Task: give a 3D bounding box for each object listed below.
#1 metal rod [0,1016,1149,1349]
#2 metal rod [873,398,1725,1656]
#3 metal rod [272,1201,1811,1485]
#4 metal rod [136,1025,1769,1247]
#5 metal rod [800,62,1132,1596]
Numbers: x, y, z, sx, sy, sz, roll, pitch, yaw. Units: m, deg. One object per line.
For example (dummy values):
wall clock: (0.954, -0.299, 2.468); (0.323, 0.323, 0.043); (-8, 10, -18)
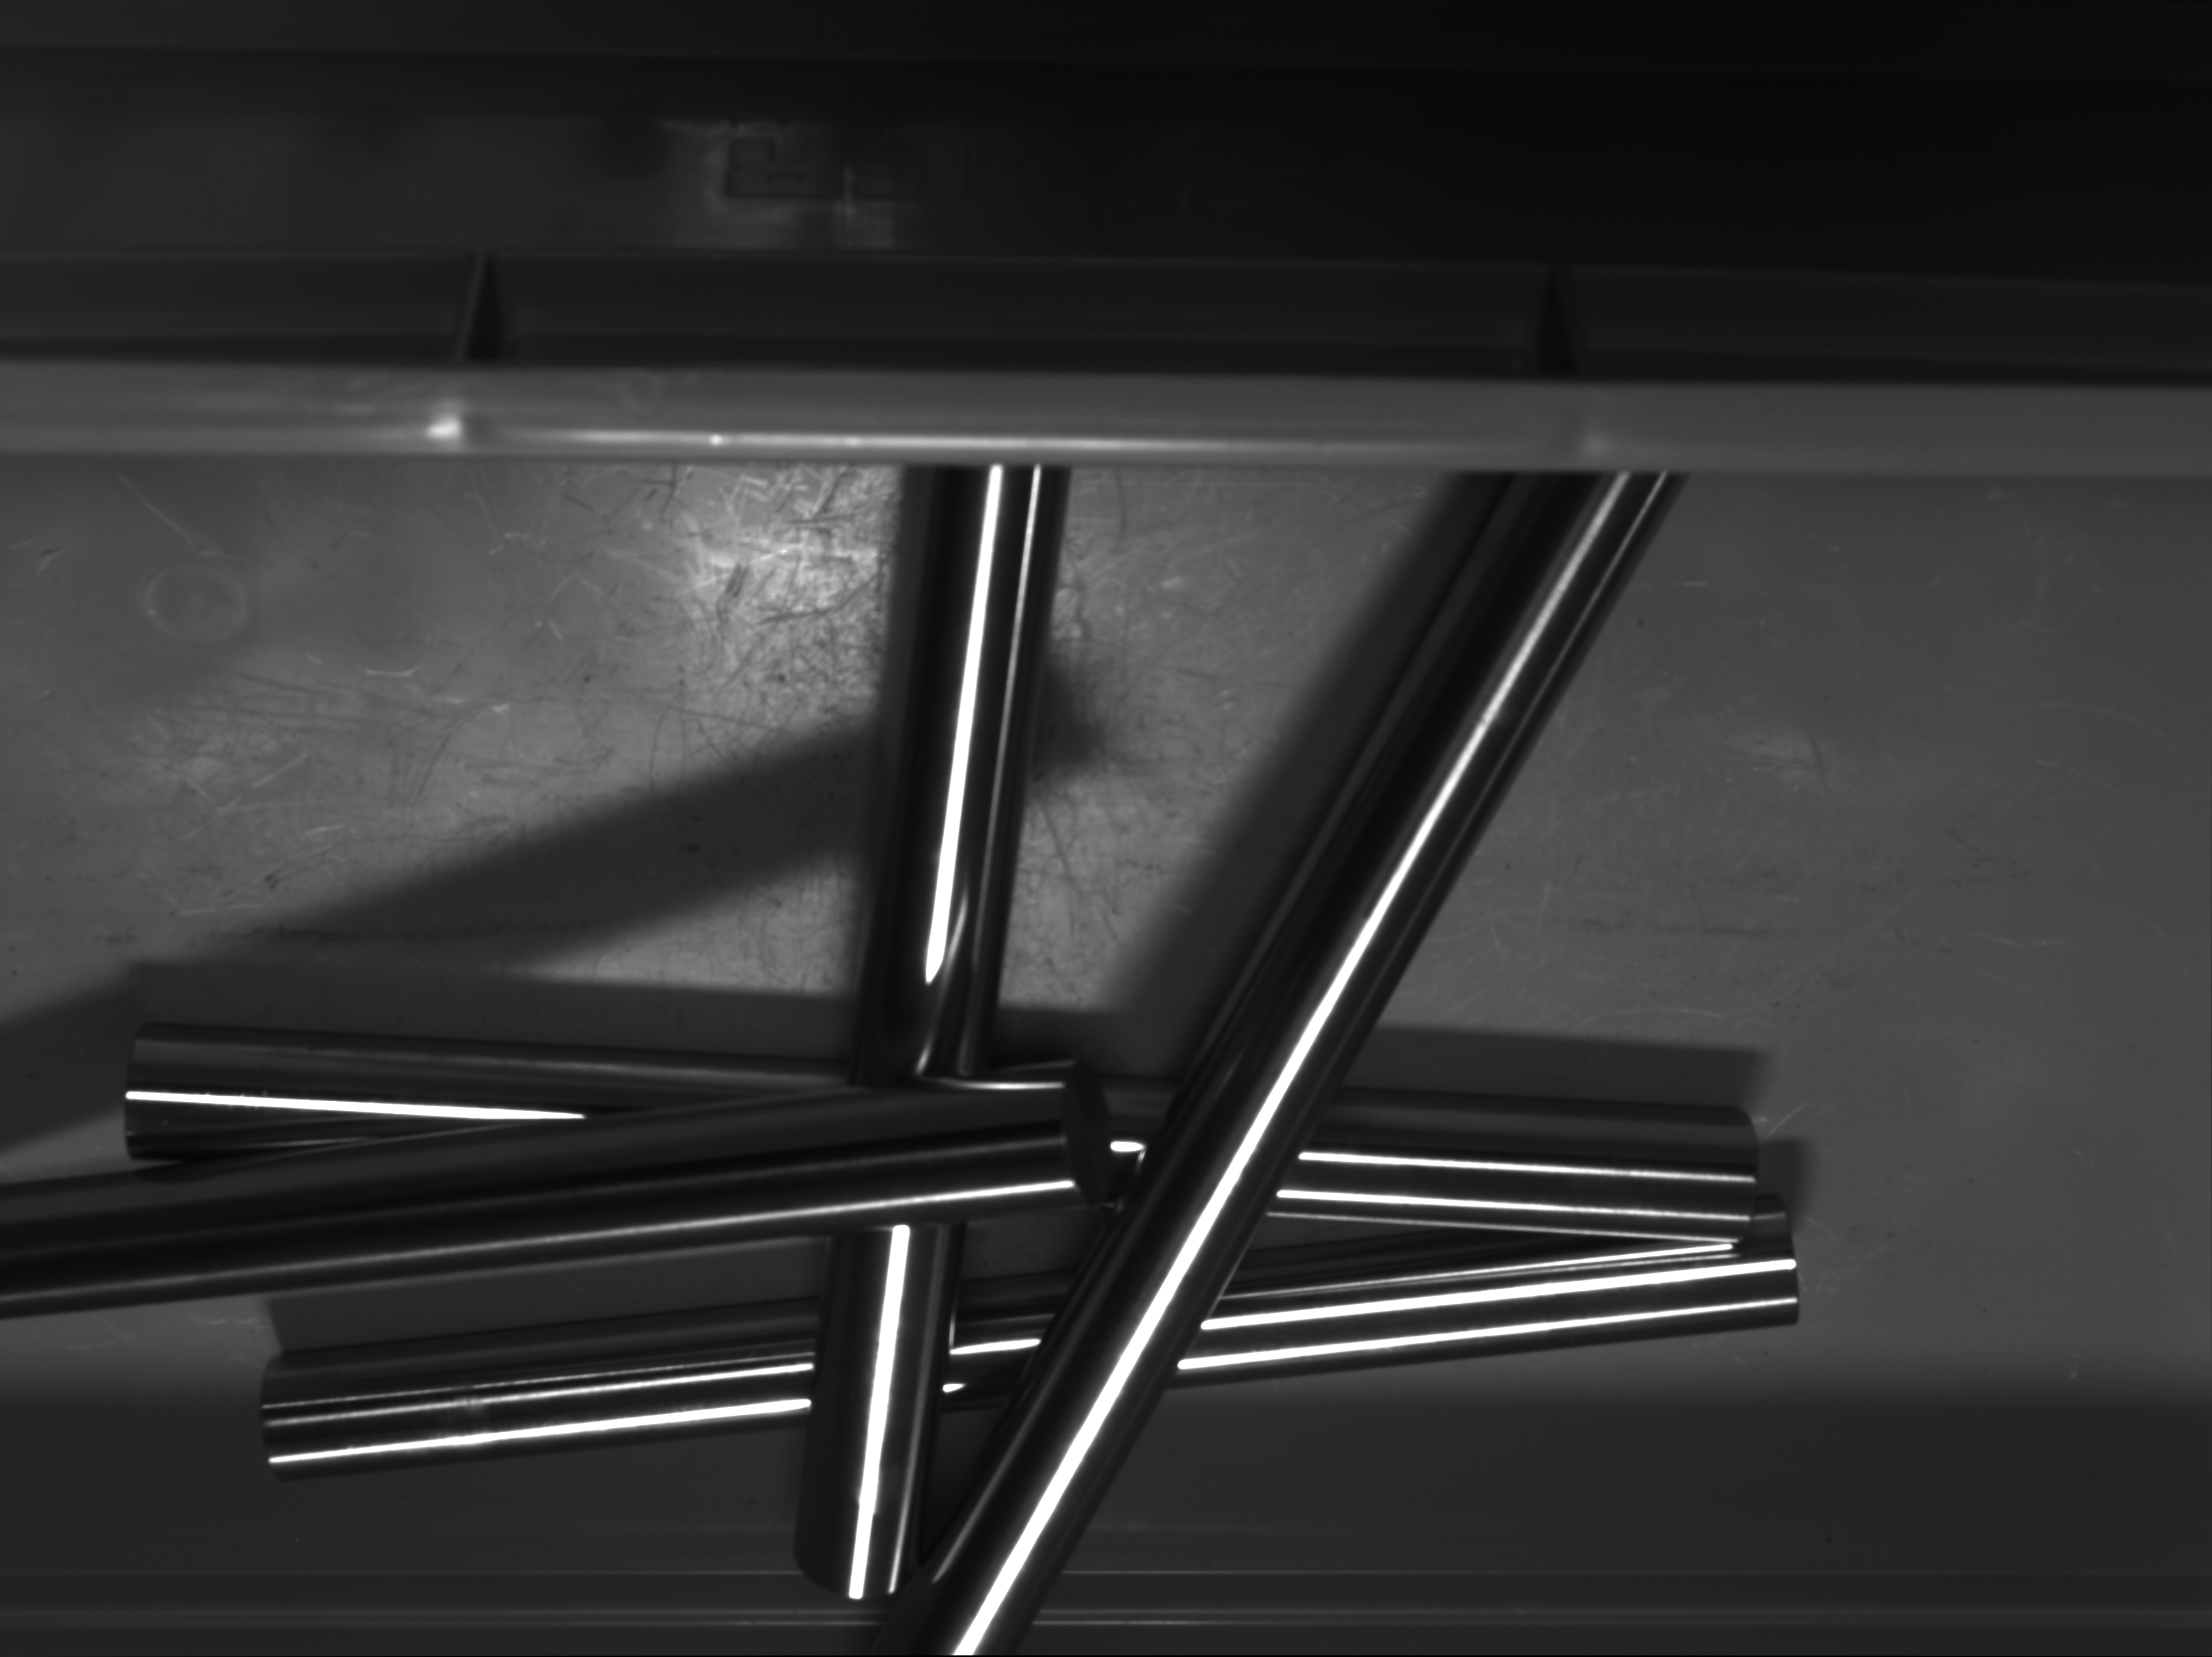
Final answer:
metal rod: (-0.139, 0.071, 0.659); (0.300, 0.025, 0.025); (-11, 130, 14)
metal rod: (0.026, 0.055, 0.658); (0.025, 0.025, 0.300); (19, 119, -17)
metal rod: (-0.014, 0.102, 0.721); (0.300, 0.025, 0.025); (-6, 130, 4)
metal rod: (-0.026, 0.058, 0.684); (0.300, 0.025, 0.025); (4, 130, -5)
metal rod: (-0.028, 0.015, 0.626); (0.025, 0.025, 0.300); (5, 123, -6)
